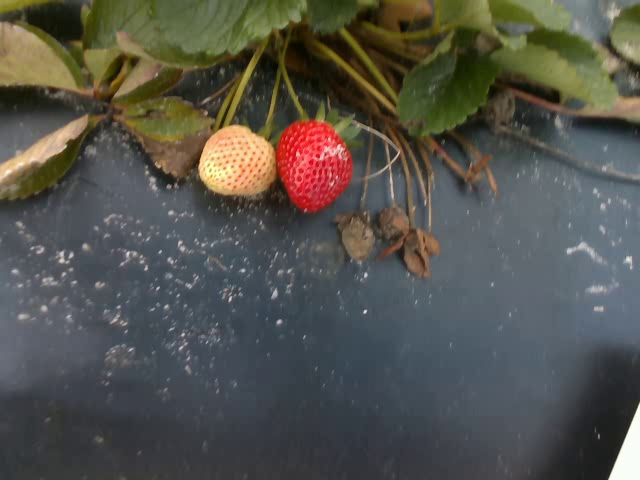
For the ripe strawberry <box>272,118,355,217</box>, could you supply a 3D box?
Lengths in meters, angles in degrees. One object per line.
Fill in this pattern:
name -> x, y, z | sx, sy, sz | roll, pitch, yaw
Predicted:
ripe strawberry -> -0.003, -0.027, 0.216 | 0.033, 0.034, 0.042 | -38, 18, 32
